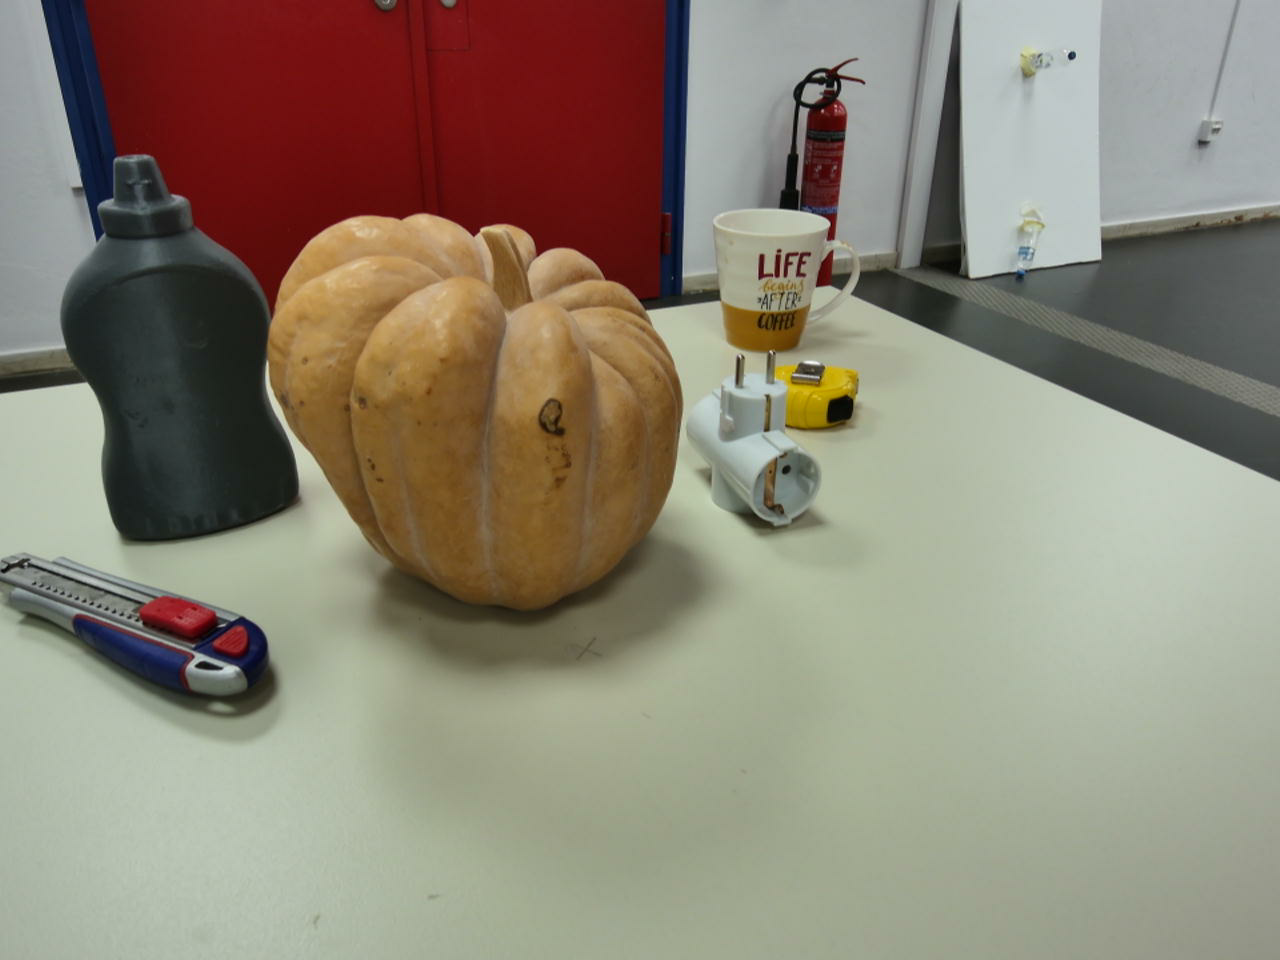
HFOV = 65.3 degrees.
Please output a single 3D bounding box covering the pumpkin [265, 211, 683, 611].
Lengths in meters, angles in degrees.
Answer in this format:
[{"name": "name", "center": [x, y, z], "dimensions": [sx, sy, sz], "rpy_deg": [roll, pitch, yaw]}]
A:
[{"name": "pumpkin", "center": [-0.074, -0.035, 0.474], "dimensions": [0.199, 0.177, 0.198], "rpy_deg": [0, 26, 0]}]
